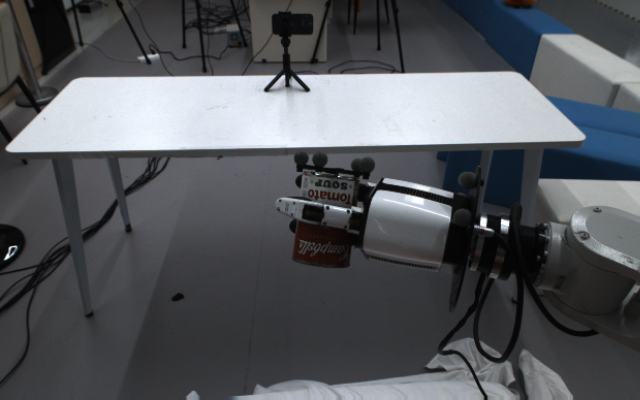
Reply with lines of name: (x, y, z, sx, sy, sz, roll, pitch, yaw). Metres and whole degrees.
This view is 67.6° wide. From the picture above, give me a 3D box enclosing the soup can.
soup can: (0.009, 0.022, 0.553, 0.067, 0.101, 0.067, 7, 3, 0)
